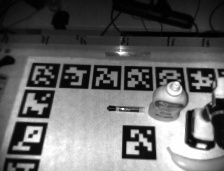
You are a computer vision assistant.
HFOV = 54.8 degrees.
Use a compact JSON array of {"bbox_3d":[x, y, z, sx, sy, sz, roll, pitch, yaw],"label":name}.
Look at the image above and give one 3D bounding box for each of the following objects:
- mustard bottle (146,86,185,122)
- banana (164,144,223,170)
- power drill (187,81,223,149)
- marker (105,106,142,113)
[{"bbox_3d":[0.160,0.052,0.636,0.096,0.192,0.058,11,63,6],"label":"mustard bottle"},{"bbox_3d":[0.251,0.225,0.636,0.197,0.039,0.074,8,65,7],"label":"banana"},{"bbox_3d":[0.262,0.104,0.590,0.057,0.188,0.184,14,62,7],"label":"power drill"},{"bbox_3d":[0.038,0.080,0.720,0.121,0.020,0.019,3,64,2],"label":"marker"}]
